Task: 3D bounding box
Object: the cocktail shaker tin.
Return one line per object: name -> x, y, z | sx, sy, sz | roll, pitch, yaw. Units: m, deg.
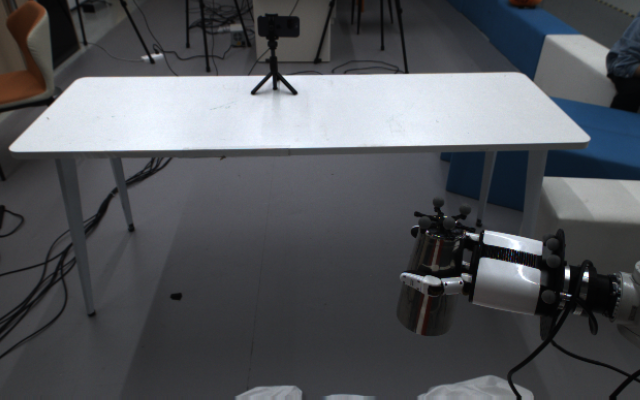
cocktail shaker tin -> 0.176, 0.111, 0.740 | 0.093, 0.170, 0.093 | 2, 30, -1
